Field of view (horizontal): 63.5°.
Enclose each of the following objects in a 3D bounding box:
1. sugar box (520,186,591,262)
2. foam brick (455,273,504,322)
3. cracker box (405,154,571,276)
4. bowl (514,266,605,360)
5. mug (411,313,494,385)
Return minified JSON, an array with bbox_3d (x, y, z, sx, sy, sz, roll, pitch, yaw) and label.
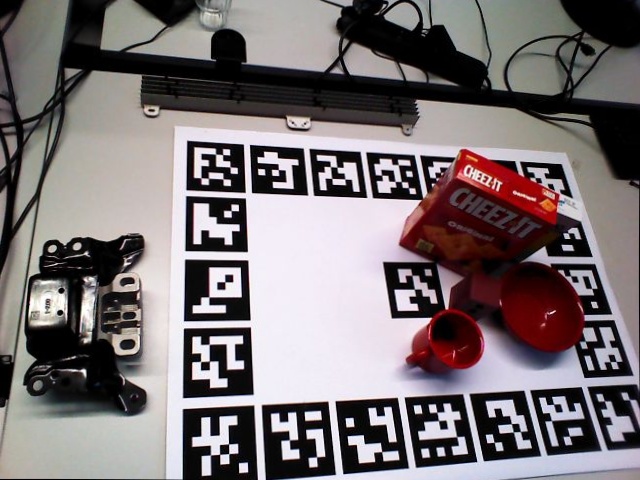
[{"bbox_3d":[0.360,-0.028,0.875,0.093,0.177,0.045,21,61,-3],"label":"sugar box"},{"bbox_3d":[0.264,0.095,0.854,0.053,0.078,0.051,15,61,-5],"label":"foam brick"},{"bbox_3d":[0.257,-0.027,0.830,0.164,0.215,0.071,28,59,0],"label":"cracker box"},{"bbox_3d":[0.386,0.125,0.865,0.161,0.055,0.161,5,64,-11],"label":"bowl"},{"bbox_3d":[0.193,0.172,0.788,0.117,0.082,0.093,-7,58,-15],"label":"mug"}]
